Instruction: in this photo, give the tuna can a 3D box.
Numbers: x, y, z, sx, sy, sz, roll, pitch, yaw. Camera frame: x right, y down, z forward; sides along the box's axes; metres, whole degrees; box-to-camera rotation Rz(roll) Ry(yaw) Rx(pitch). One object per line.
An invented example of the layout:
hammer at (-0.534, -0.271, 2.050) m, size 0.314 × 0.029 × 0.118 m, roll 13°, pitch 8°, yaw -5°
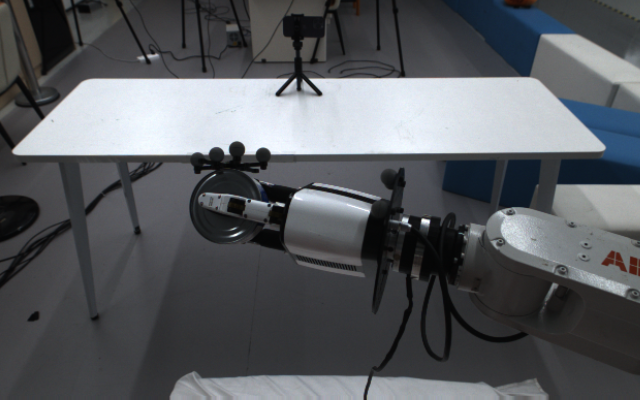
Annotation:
tuna can at (-0.100, 0.013, 0.553) m, size 0.085 × 0.085 × 0.034 m, roll 9°, pitch -6°, yaw 10°
